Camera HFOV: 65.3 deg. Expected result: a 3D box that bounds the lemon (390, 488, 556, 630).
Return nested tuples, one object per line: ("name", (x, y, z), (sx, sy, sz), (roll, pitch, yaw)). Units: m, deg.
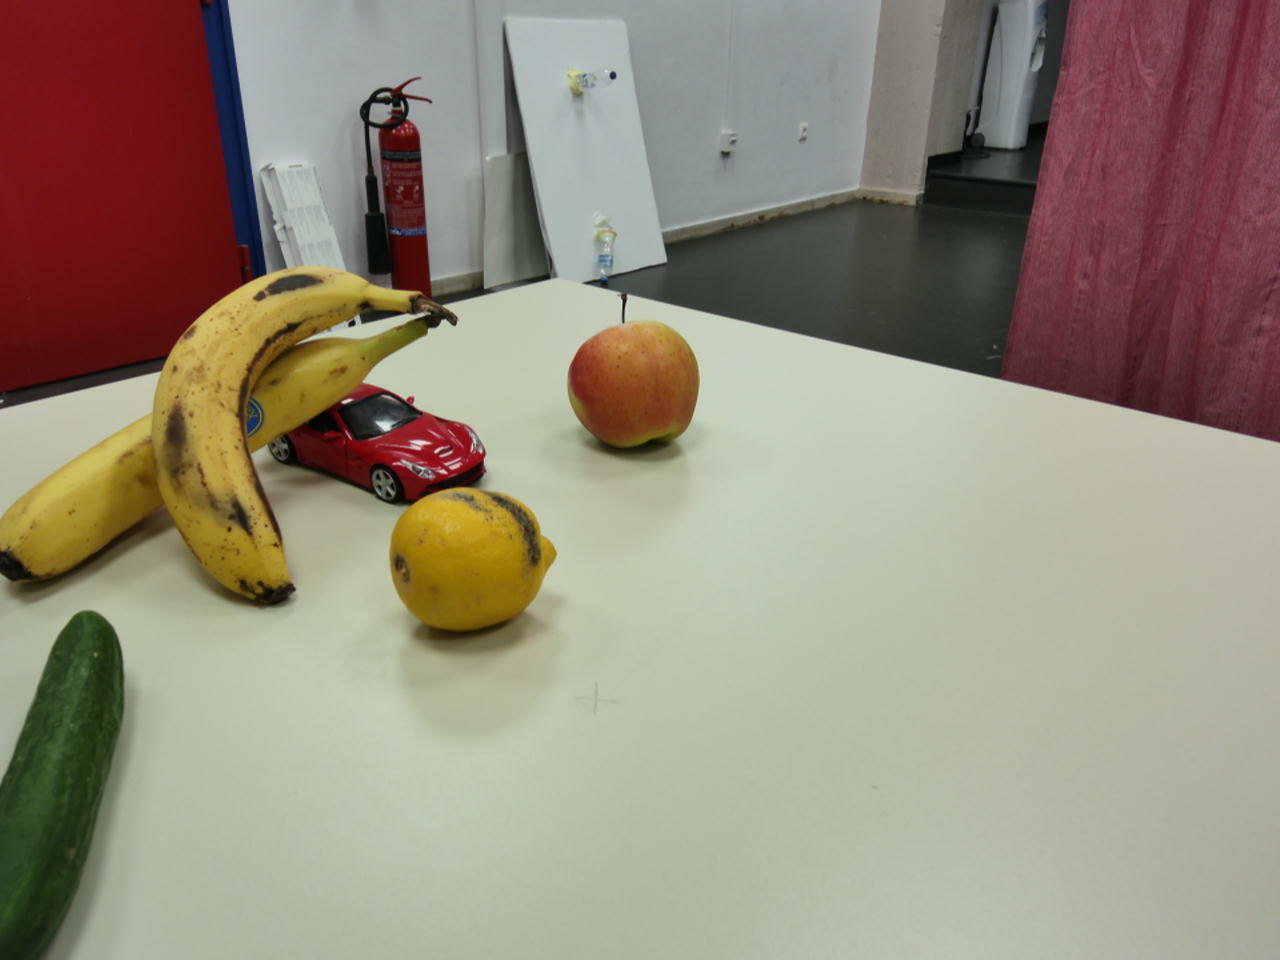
("lemon", (-0.068, 0.030, 0.396), (0.058, 0.056, 0.061), (14, 26, 28))
